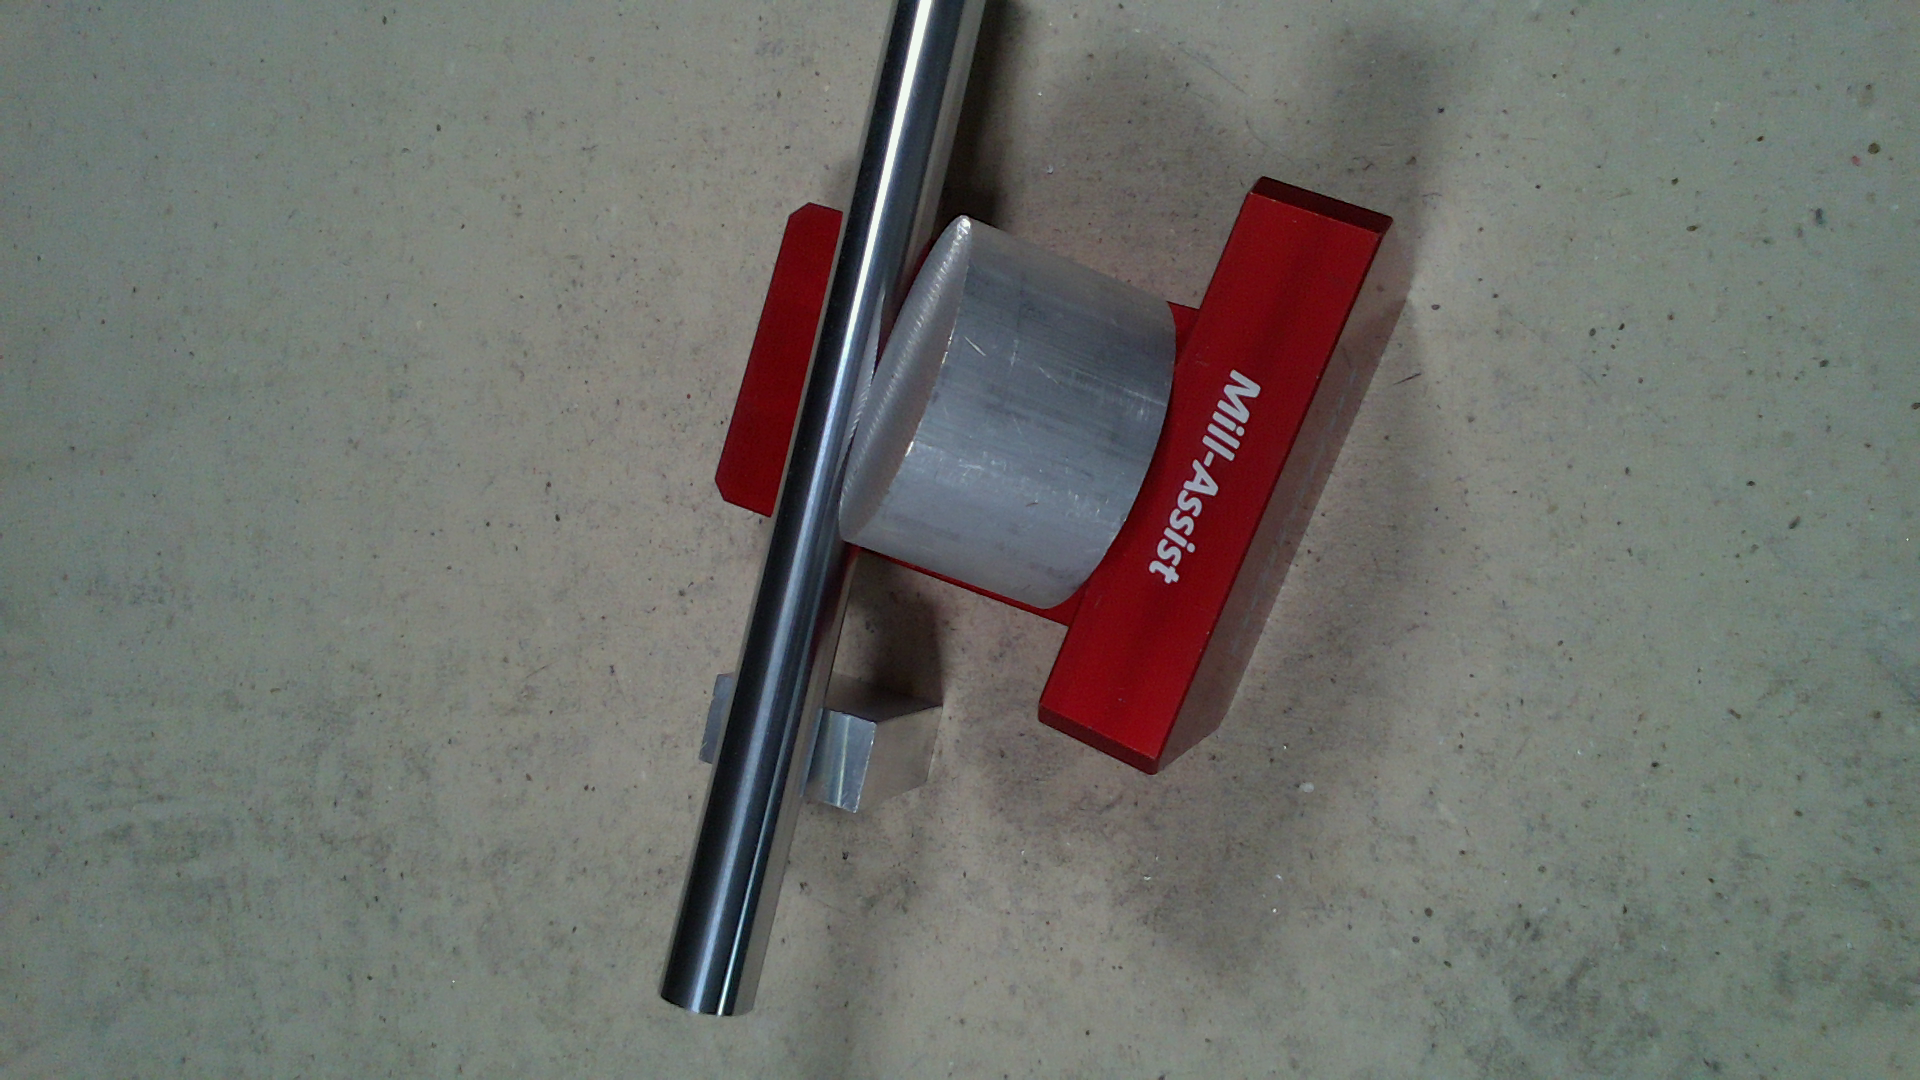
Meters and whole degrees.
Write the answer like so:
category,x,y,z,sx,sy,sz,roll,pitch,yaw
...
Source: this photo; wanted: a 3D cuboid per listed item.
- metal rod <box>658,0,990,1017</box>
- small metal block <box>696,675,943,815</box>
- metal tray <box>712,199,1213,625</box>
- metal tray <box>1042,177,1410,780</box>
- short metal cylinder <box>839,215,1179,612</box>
category,x,y,z,sx,sy,sz,roll,pitch,yaw
metal rod,-0.032,-0.027,0.366,0.025,0.025,0.300,11,85,20
small metal block,-0.039,0.055,0.397,0.050,0.050,0.025,13,95,19
metal tray,0.002,-0.036,0.392,0.130,0.030,0.090,19,97,19
metal tray,0.068,-0.013,0.337,0.030,0.090,0.130,24,98,19
short metal cylinder,0.009,-0.029,0.324,0.050,0.080,0.080,20,98,-14
